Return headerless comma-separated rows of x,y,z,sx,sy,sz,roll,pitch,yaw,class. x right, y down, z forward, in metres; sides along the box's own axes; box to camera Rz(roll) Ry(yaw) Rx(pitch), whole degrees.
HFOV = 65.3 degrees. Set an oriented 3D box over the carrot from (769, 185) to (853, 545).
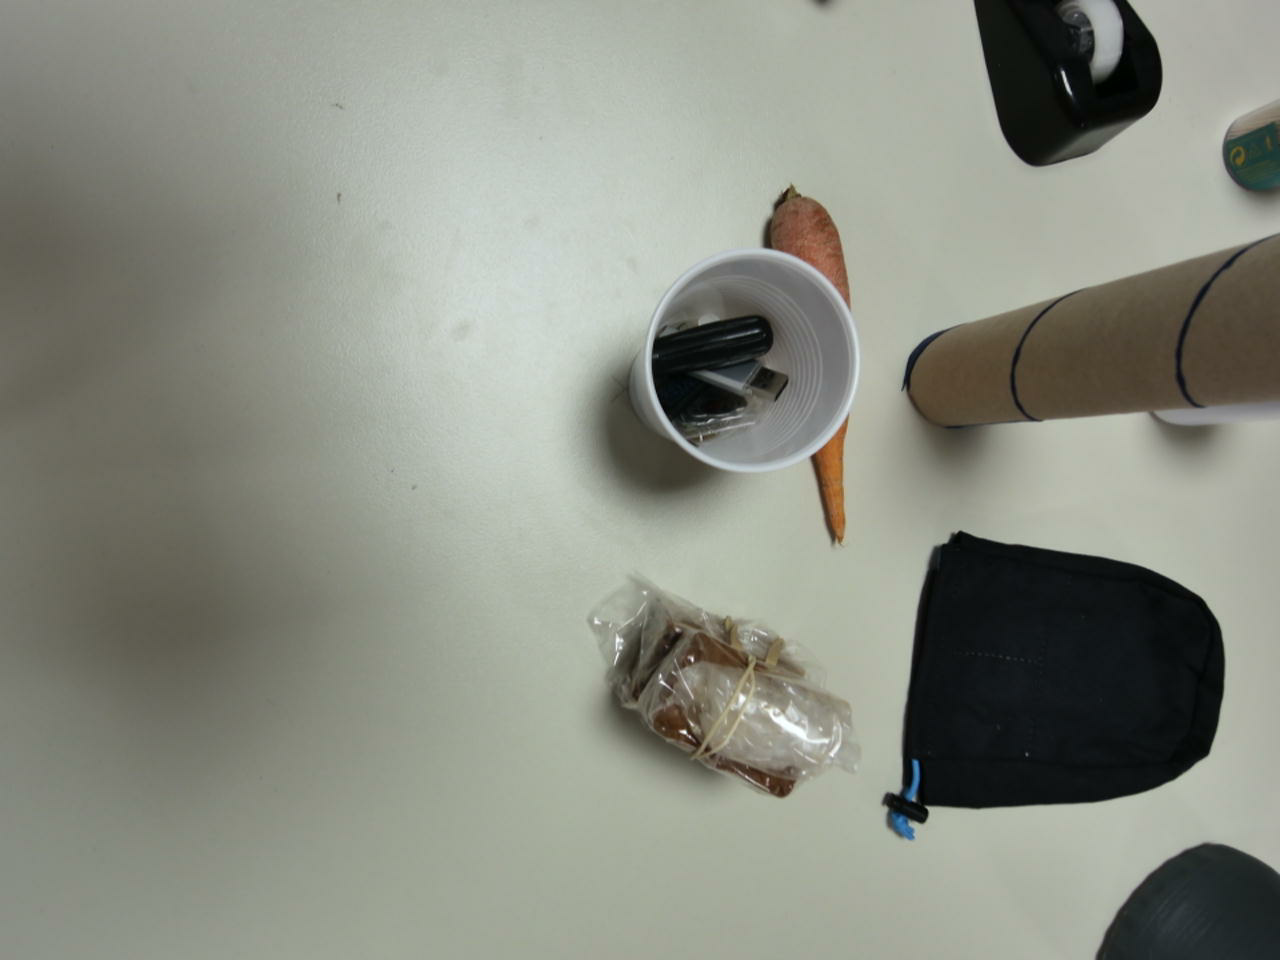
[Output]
0.085,-0.052,0.453,0.031,0.029,0.163,-10,93,-12,carrot
